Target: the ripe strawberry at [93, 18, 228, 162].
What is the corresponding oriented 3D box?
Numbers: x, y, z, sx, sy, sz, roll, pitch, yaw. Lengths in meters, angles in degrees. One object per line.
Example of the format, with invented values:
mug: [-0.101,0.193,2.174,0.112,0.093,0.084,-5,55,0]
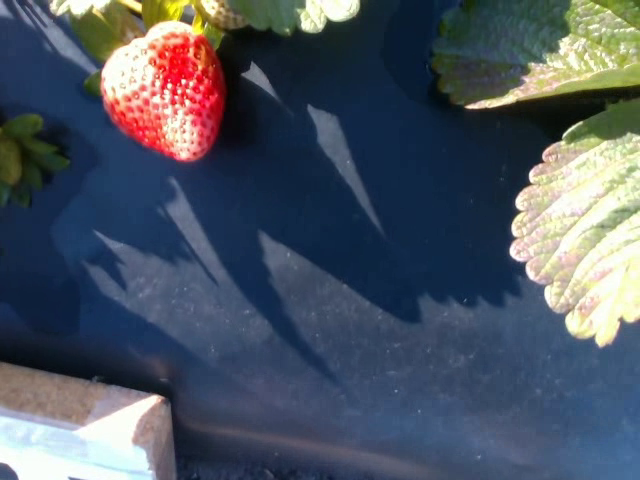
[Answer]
ripe strawberry: [-0.034,-0.034,0.157,0.042,0.037,0.045,-21,45,-6]
